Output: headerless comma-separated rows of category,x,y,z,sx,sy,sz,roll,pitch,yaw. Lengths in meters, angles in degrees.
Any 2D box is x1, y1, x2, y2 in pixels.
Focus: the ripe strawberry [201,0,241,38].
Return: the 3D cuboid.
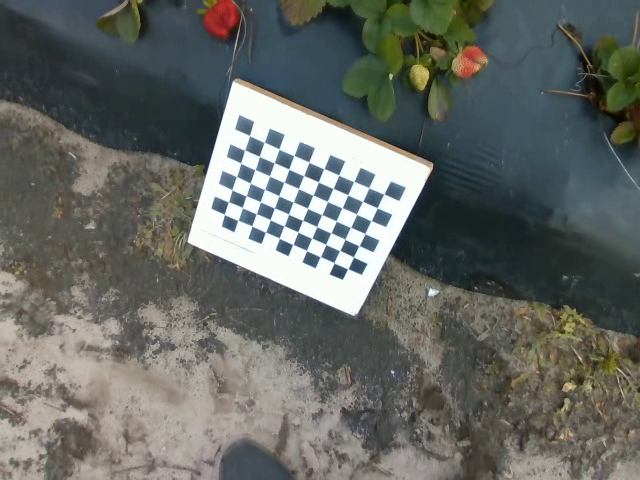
ripe strawberry,-0.036,-0.078,0.242,0.013,0.015,0.017,11,-42,-47
